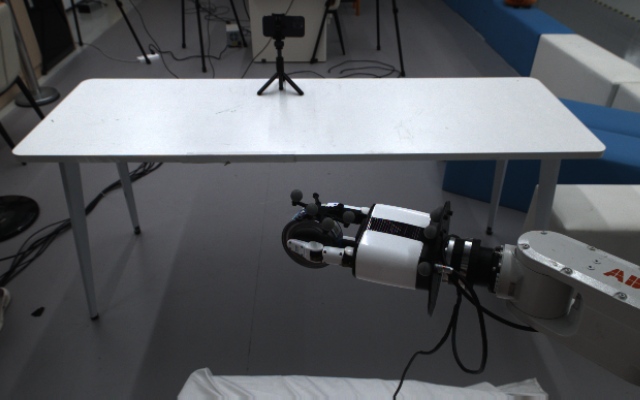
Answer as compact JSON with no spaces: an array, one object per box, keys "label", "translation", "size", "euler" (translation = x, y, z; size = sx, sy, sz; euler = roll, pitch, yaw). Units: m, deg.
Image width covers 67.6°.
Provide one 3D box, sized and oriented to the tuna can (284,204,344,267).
[{"label":"tuna can","translation":[-0.009,0.056,0.709],"size":[0.085,0.085,0.034],"euler":[13,30,15]}]
